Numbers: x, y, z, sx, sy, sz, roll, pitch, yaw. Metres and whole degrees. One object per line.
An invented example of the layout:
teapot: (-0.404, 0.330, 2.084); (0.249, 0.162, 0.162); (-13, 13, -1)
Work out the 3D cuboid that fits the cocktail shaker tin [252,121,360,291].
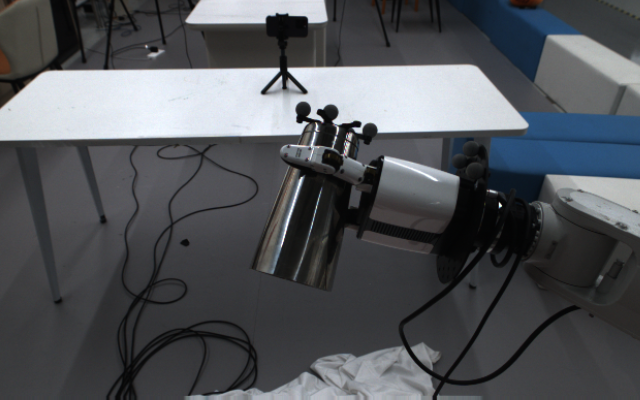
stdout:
cocktail shaker tin: (-0.006, 0.004, 0.535); (0.093, 0.093, 0.170); (13, 79, 15)
